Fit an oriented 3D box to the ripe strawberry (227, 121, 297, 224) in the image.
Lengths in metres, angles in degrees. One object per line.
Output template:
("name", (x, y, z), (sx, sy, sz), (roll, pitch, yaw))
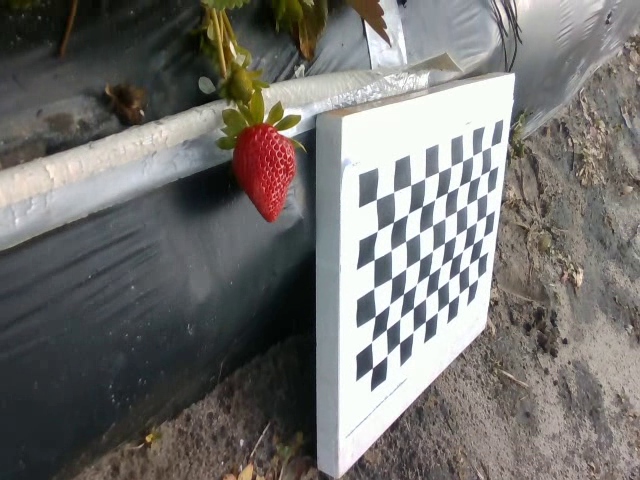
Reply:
("ripe strawberry", (-0.025, -0.031, 0.294), (0.030, 0.052, 0.048), (-12, -26, 24))
